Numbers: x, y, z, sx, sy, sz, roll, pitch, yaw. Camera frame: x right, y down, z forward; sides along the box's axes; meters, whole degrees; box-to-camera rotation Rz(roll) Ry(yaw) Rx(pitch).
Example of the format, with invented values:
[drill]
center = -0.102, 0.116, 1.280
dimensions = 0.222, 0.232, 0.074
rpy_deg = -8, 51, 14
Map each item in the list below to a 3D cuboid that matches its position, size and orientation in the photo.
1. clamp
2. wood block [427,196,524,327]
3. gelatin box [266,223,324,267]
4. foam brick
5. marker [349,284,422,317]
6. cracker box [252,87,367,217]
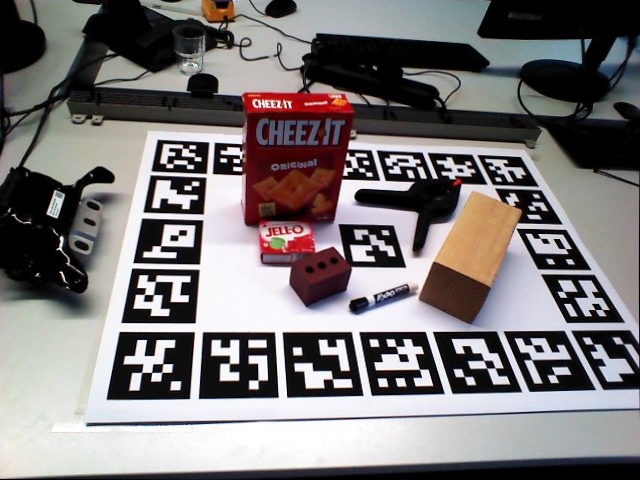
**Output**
[clamp]
center = 0.201, -0.068, 0.938
dimensions = 0.202, 0.037, 0.165
rpy_deg = -25, 56, -28
[wood block]
center = 0.256, 0.025, 0.825
dimensions = 0.090, 0.091, 0.204
rpy_deg = 25, 45, 17
[gelatin box]
center = -0.041, 0.006, 0.834
dimensions = 0.089, 0.030, 0.073
rpy_deg = 0, 48, -9
[foam brick]
center = 0.009, 0.057, 0.775
dimensions = 0.078, 0.051, 0.053
rpy_deg = -19, 54, -25
[marker]
center = 0.098, 0.091, 0.779
dimensions = 0.120, 0.020, 0.019
rpy_deg = -15, 53, -22
[cracker box]
center = -0.024, -0.134, 0.833
dimensions = 0.164, 0.215, 0.071
rpy_deg = -1, 46, -13
